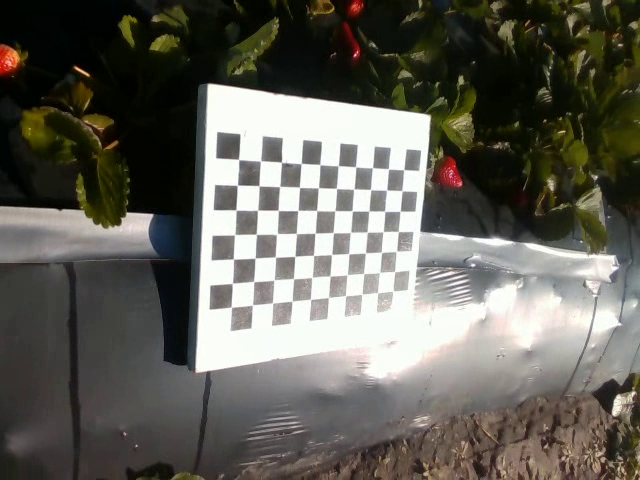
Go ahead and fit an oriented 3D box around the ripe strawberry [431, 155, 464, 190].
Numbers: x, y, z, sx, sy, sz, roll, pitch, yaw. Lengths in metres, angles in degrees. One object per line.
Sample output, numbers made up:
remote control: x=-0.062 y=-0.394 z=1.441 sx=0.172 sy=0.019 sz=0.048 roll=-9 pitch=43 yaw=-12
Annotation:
ripe strawberry: x=0.179 y=-0.090 z=0.825 sx=0.029 sy=0.048 sz=0.055 roll=14 pitch=-32 yaw=55
